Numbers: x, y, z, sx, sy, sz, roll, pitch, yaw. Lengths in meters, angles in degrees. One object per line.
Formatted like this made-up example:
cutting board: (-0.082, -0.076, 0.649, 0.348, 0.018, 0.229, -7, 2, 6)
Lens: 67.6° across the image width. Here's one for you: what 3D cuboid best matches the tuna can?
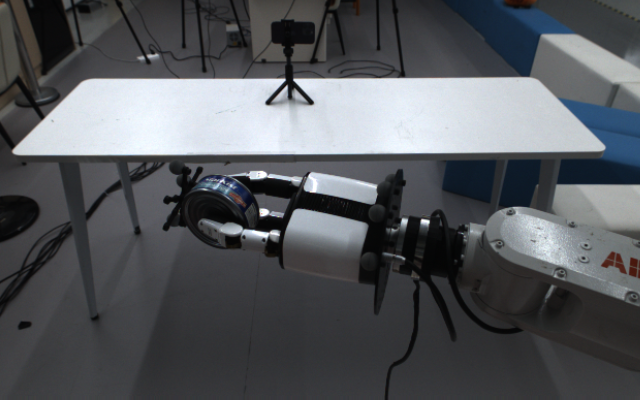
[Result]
tuna can: (-0.111, 0.020, 0.558, 0.085, 0.085, 0.034, 11, 35, 13)
